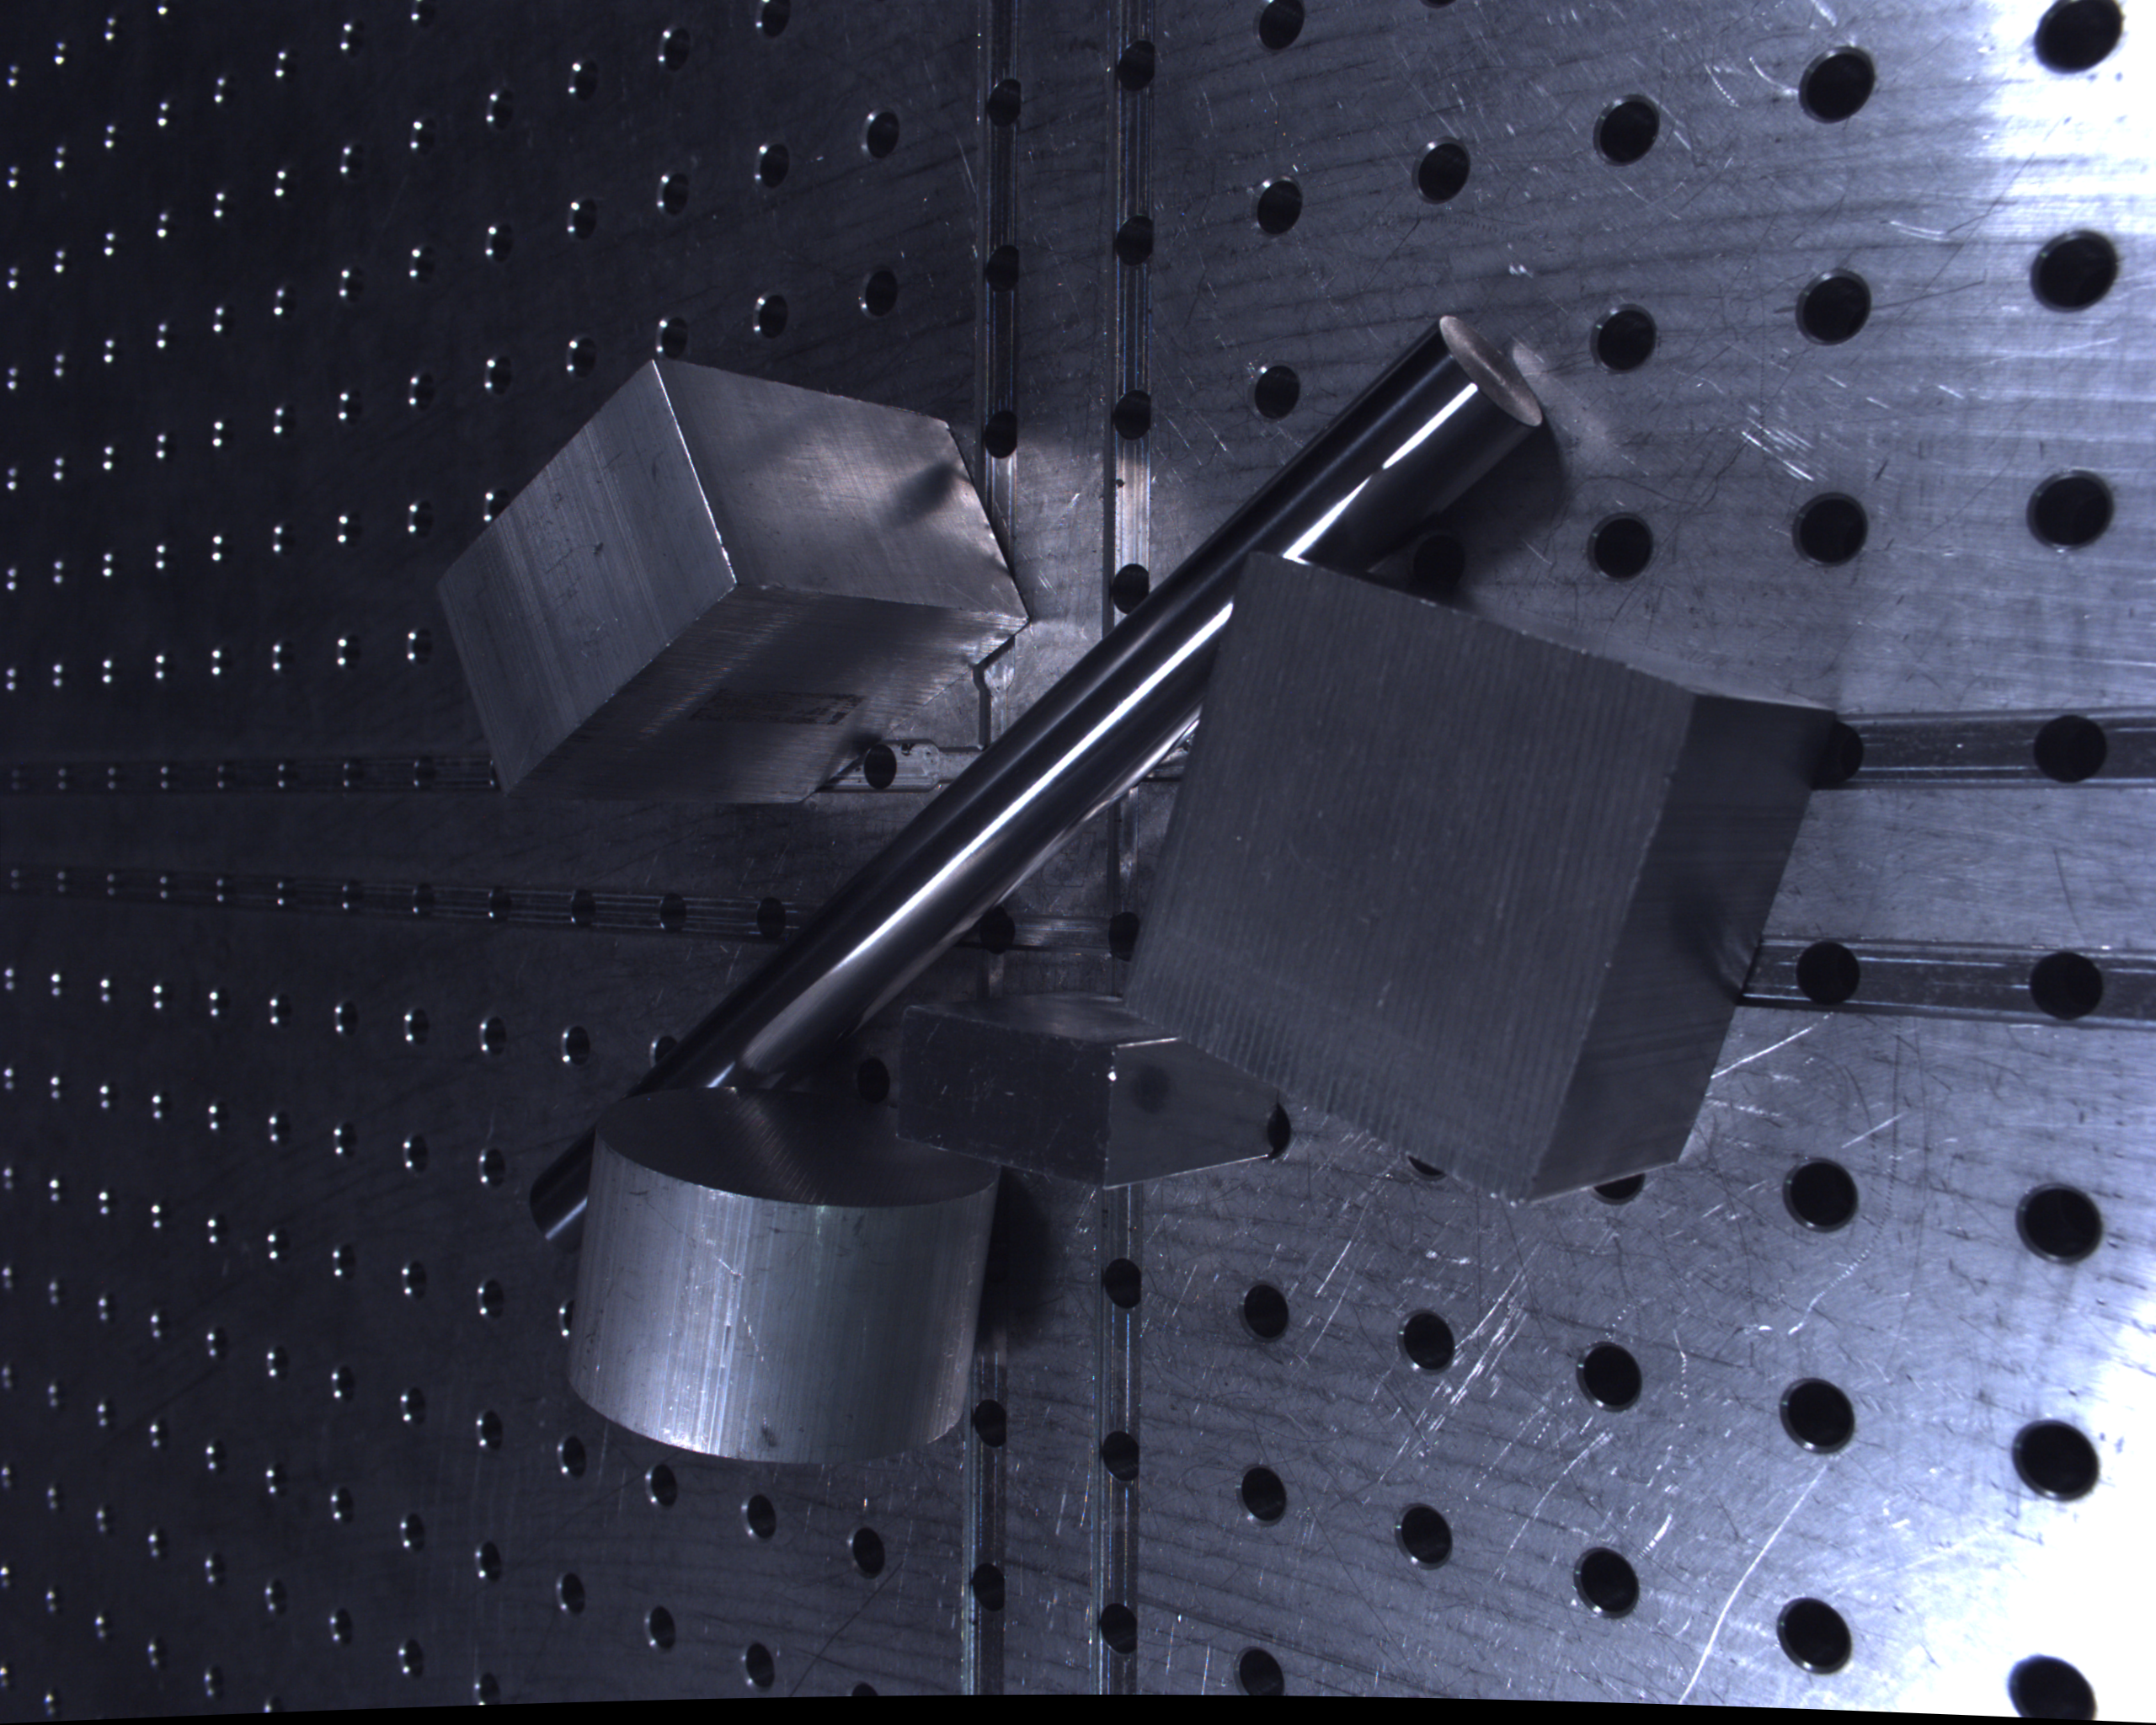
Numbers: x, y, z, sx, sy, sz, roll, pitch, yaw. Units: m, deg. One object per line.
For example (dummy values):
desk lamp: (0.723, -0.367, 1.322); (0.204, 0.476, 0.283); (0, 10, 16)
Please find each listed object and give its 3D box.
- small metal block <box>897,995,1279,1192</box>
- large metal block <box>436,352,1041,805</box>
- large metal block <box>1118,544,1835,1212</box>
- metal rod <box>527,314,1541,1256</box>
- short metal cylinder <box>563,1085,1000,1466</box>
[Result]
small metal block: (0.003, 0.041, 0.389); (0.050, 0.050, 0.025); (7, 95, 39)
large metal block: (-0.070, -0.054, 0.430); (0.080, 0.081, 0.050); (-35, 69, 34)
large metal block: (0.062, 0.000, 0.337); (0.080, 0.050, 0.079); (25, 105, 37)
metal rod: (-0.027, 0.001, 0.428); (0.299, 0.025, 0.025); (-41, 65, 32)
short metal cylinder: (-0.059, 0.080, 0.419); (0.080, 0.081, 0.050); (15, 100, 38)
